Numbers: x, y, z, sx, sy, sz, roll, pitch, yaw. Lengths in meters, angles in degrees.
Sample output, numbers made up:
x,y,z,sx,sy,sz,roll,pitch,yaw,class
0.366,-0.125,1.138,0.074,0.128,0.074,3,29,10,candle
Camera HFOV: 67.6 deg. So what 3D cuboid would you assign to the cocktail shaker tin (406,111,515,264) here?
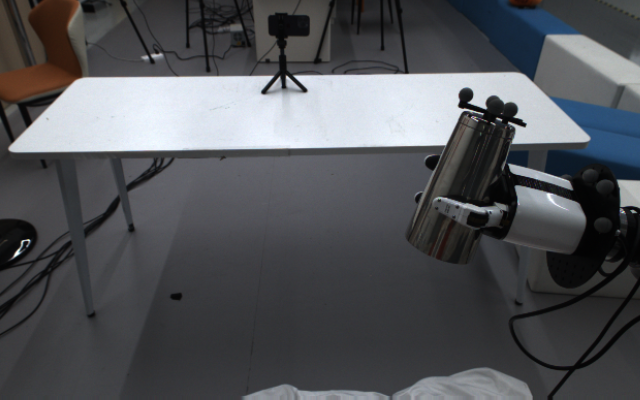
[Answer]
x,y,z,sx,sy,sz,roll,pitch,yaw,class
0.178,-0.018,0.601,0.093,0.170,0.093,14,19,-5,cocktail shaker tin
